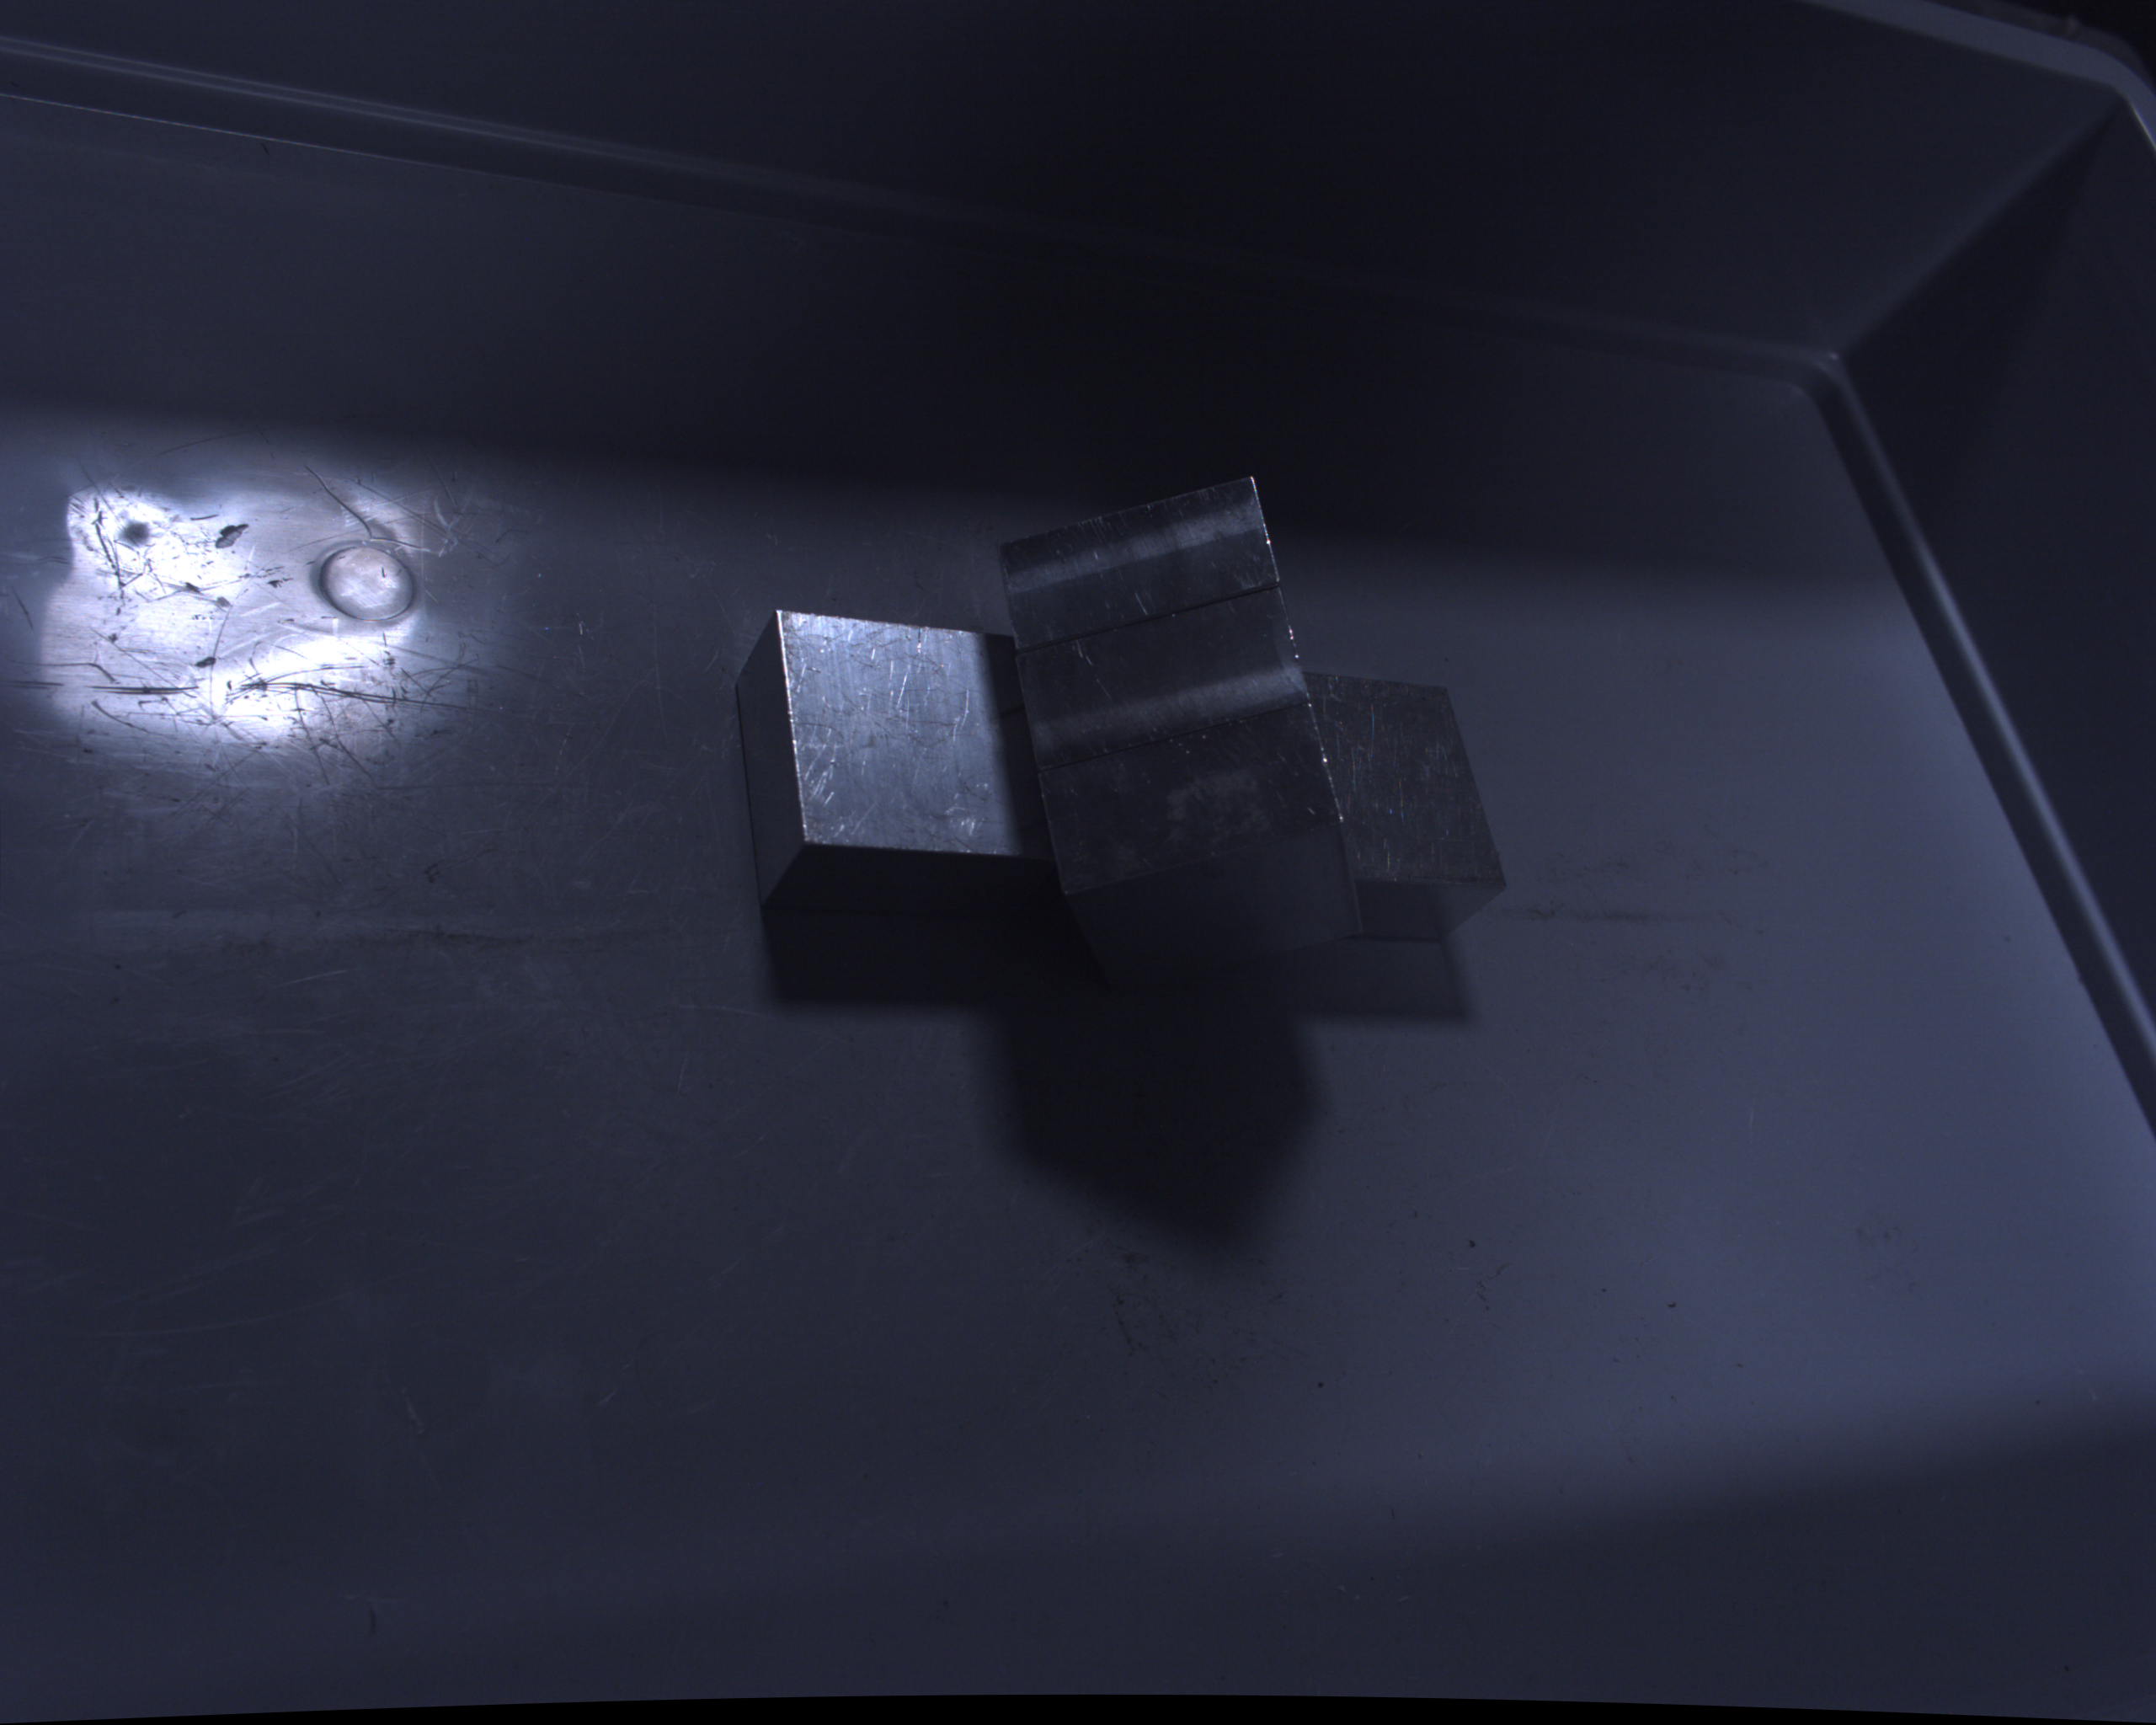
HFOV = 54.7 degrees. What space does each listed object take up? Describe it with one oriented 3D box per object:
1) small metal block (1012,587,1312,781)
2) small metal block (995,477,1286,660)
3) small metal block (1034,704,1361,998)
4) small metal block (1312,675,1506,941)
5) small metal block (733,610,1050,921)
[{"bbox_3d":[0.019,-0.023,0.401,0.050,0.050,0.025,-15,64,5],"label":"small metal block"},{"bbox_3d":[0.016,-0.046,0.412,0.050,0.050,0.025,-14,63,5],"label":"small metal block"},{"bbox_3d":[0.024,-0.001,0.389,0.050,0.050,0.025,-15,64,5],"label":"small metal block"},{"bbox_3d":[0.057,-0.012,0.444,0.050,0.025,0.050,3,60,-27],"label":"small metal block"},{"bbox_3d":[-0.035,-0.018,0.397,0.050,0.025,0.050,4,60,-27],"label":"small metal block"}]
